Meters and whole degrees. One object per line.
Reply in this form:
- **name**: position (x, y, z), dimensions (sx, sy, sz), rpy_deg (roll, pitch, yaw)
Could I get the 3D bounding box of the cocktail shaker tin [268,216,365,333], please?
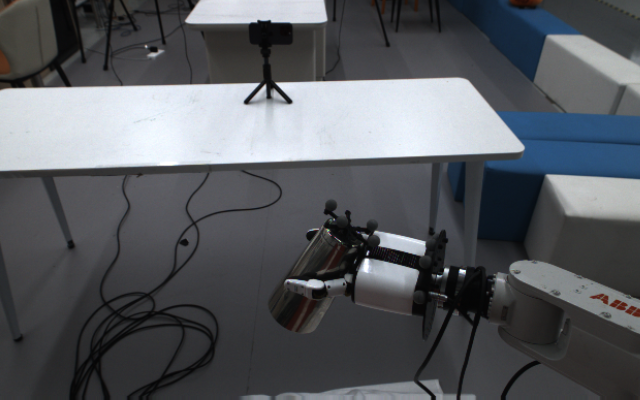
- **cocktail shaker tin**: position (-0.002, 0.106, 0.738), dimensions (0.093, 0.170, 0.093), rpy_deg (24, 30, -15)
